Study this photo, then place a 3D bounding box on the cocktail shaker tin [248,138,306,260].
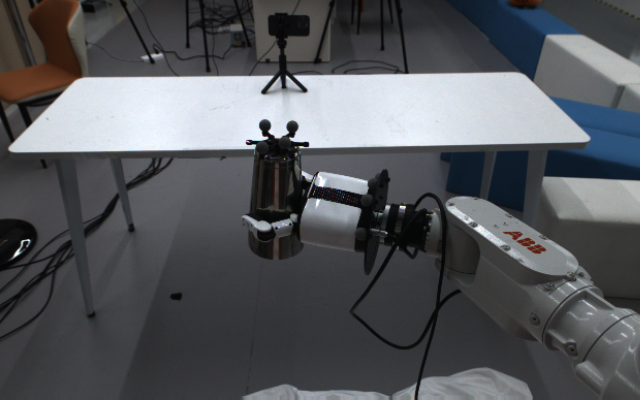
[{"bbox_3d":[-0.064,-0.004,0.737,0.093,0.170,0.093,3,34,-2],"label":"cocktail shaker tin"}]
